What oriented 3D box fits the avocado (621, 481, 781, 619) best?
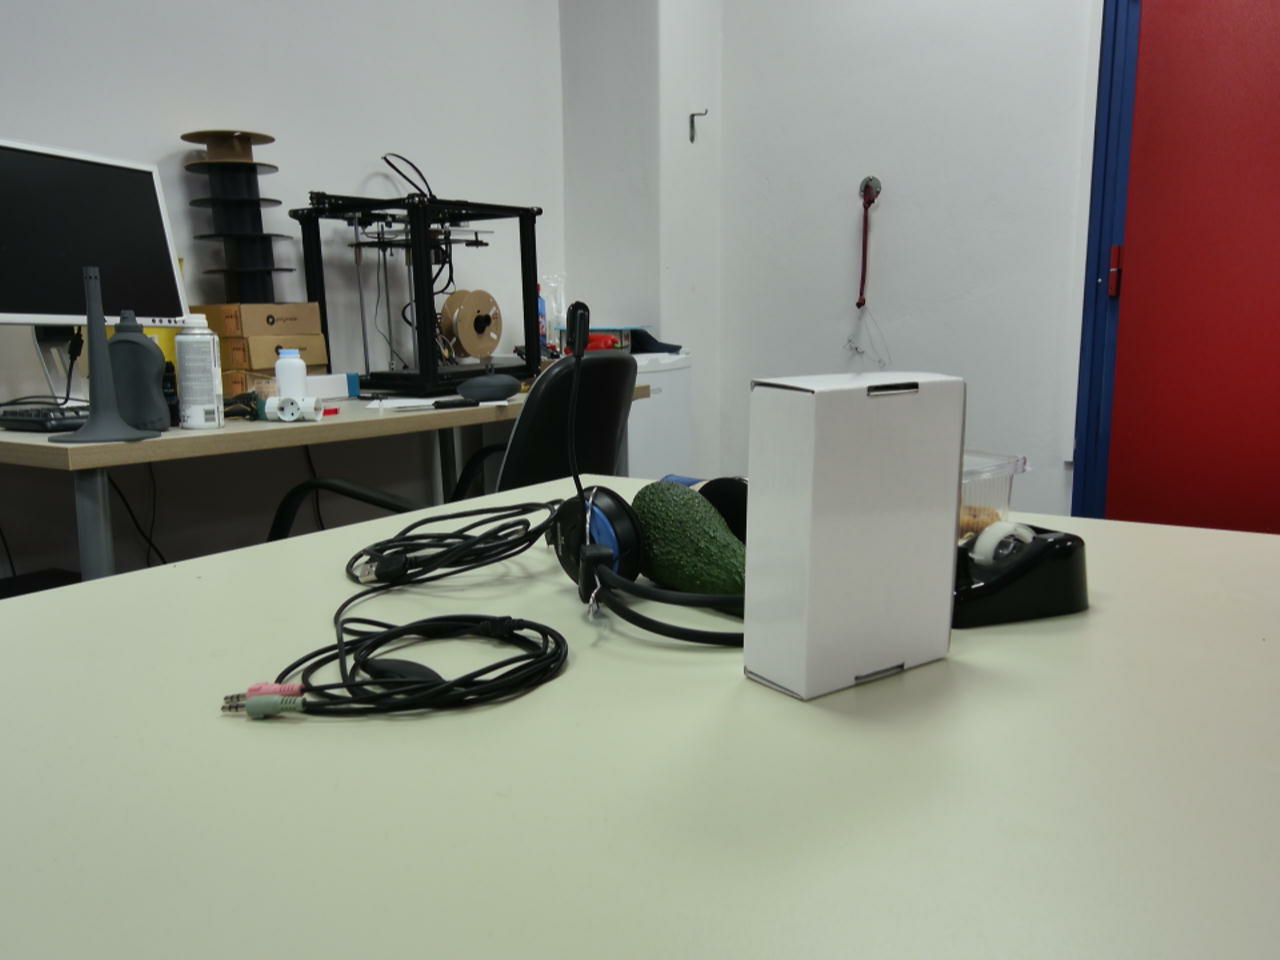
[{"bbox_3d":[0.040,0.038,0.603,0.063,0.067,0.141,-5,9,-39],"label":"avocado"}]
